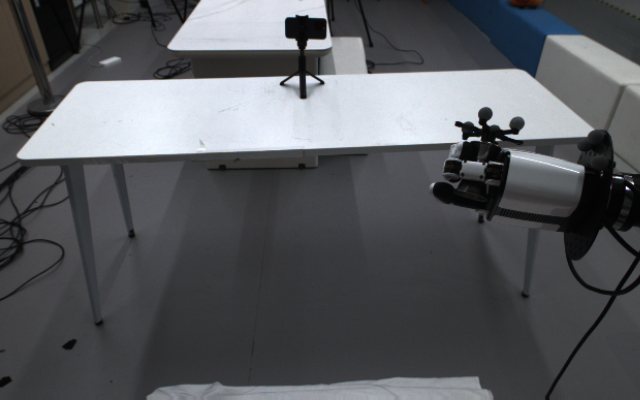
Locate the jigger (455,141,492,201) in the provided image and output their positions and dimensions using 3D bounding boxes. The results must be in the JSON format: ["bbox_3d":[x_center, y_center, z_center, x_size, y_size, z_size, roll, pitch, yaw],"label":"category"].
[{"bbox_3d":[0.202,-0.038,0.615,0.043,0.071,0.043,18,-6,2],"label":"jigger"}]
